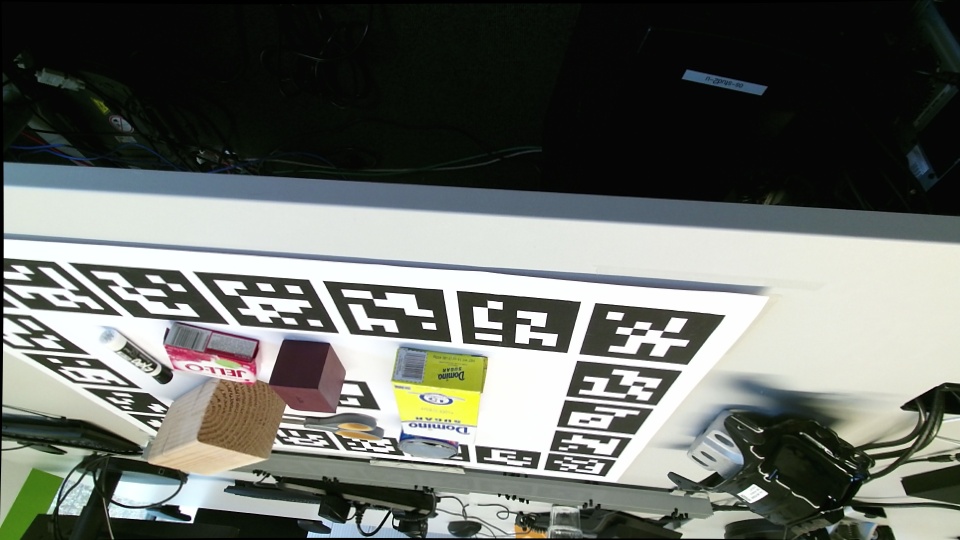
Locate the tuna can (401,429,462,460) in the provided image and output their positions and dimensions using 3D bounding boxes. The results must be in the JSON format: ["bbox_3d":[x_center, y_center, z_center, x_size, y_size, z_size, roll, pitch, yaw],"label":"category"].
[{"bbox_3d":[-0.067,0.238,0.758,0.086,0.033,0.086,4,142,3],"label":"tuna can"}]

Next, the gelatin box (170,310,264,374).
[{"bbox_3d":[-0.286,0.080,0.589,0.090,0.030,0.073,15,141,-12],"label":"gelatin box"}]

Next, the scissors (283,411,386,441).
[{"bbox_3d":[-0.239,0.221,0.782,0.203,0.016,0.088,7,143,-4],"label":"scissors"}]

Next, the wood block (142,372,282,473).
[{"bbox_3d":[-0.359,0.202,0.717,0.090,0.090,0.206,32,137,-32],"label":"wood block"}]

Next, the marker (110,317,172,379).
[{"bbox_3d":[-0.395,0.094,0.629,0.020,0.019,0.121,5,141,2],"label":"marker"}]

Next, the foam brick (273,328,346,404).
[{"bbox_3d":[-0.183,0.105,0.582,0.053,0.051,0.078,5,142,1],"label":"foam brick"}]

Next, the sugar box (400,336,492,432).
[{"bbox_3d":[-0.041,0.139,0.621,0.093,0.045,0.176,7,143,0],"label":"sugar box"}]
